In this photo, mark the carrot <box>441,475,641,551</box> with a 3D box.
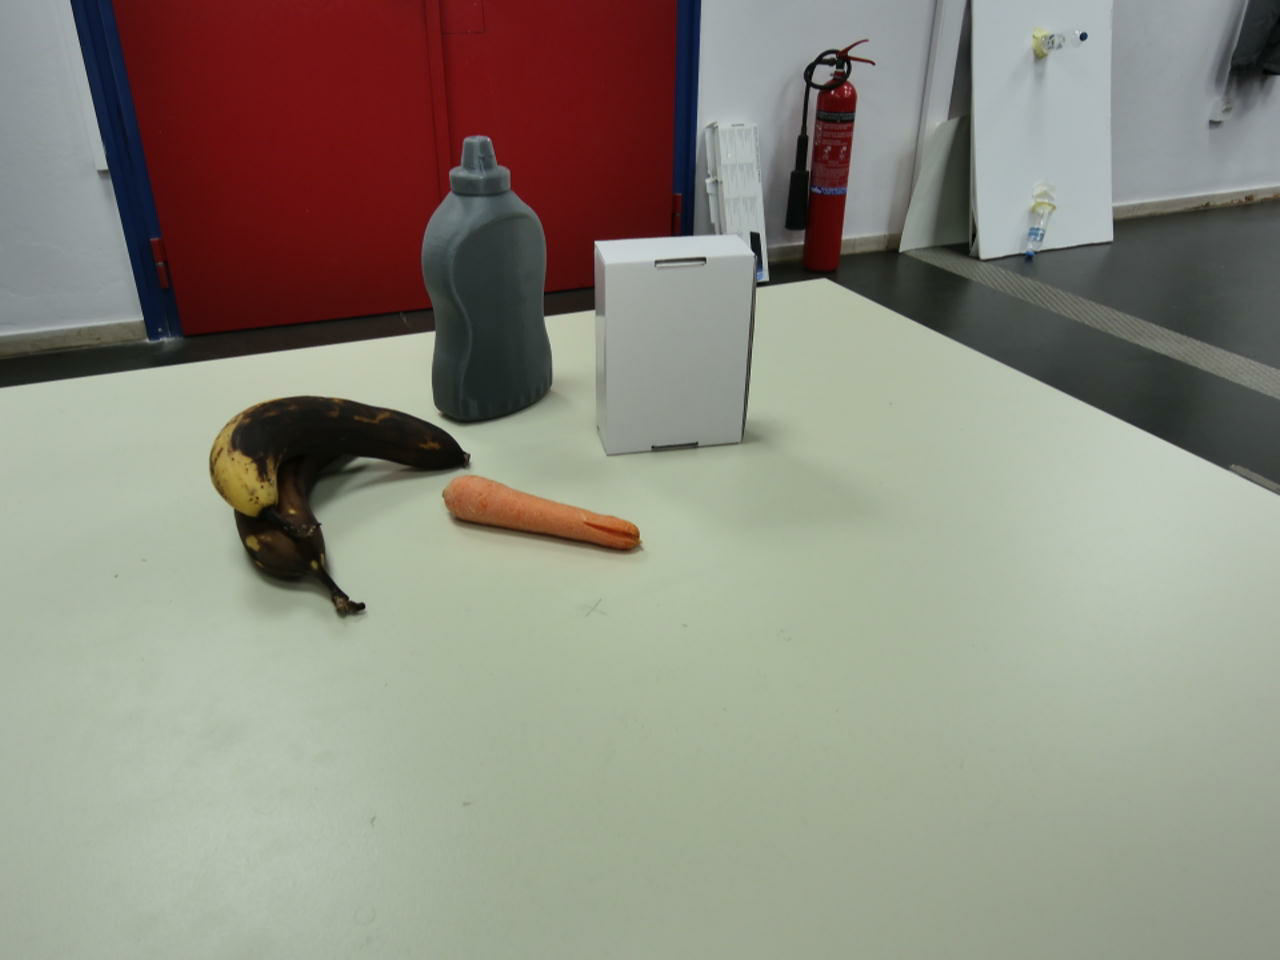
[{"bbox_3d":[-0.064,0.020,0.627,0.136,0.032,0.030,10,28,19],"label":"carrot"}]
